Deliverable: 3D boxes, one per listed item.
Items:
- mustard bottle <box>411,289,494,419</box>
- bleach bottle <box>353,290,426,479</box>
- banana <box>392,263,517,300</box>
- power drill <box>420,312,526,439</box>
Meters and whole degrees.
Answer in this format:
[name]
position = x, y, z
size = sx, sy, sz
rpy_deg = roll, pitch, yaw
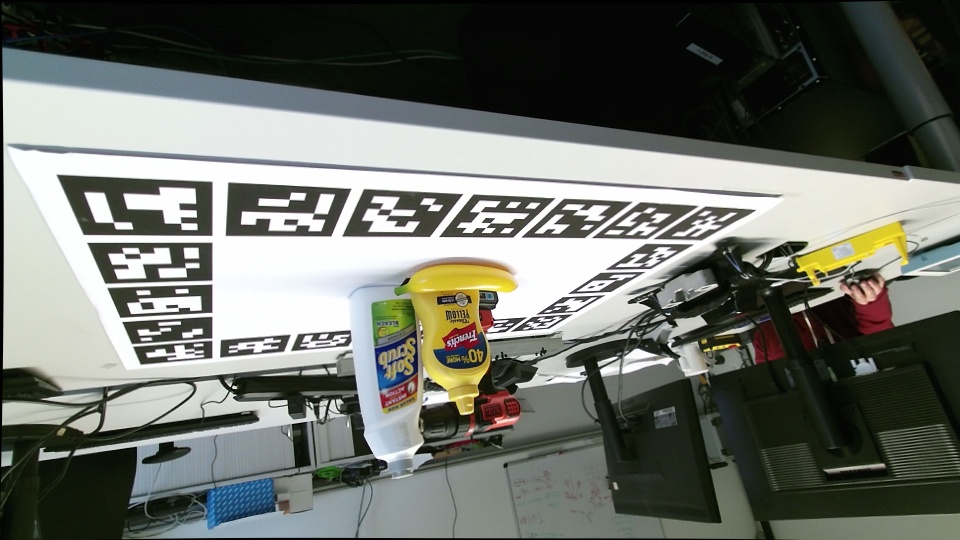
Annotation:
[mustard bottle]
position = -0.032, 0.107, 0.736
size = 0.096, 0.190, 0.058
rpy_deg = 0, 154, -28
[bleach bottle]
position = -0.113, 0.155, 0.739
size = 0.103, 0.249, 0.068
rpy_deg = 0, 160, -31
[banana]
position = -0.020, 0.017, 0.754
size = 0.198, 0.038, 0.074
rpy_deg = -1, 153, -34
[power drill]
position = -0.022, 0.156, 0.804
size = 0.185, 0.186, 0.057
rpy_deg = 7, 151, -38
